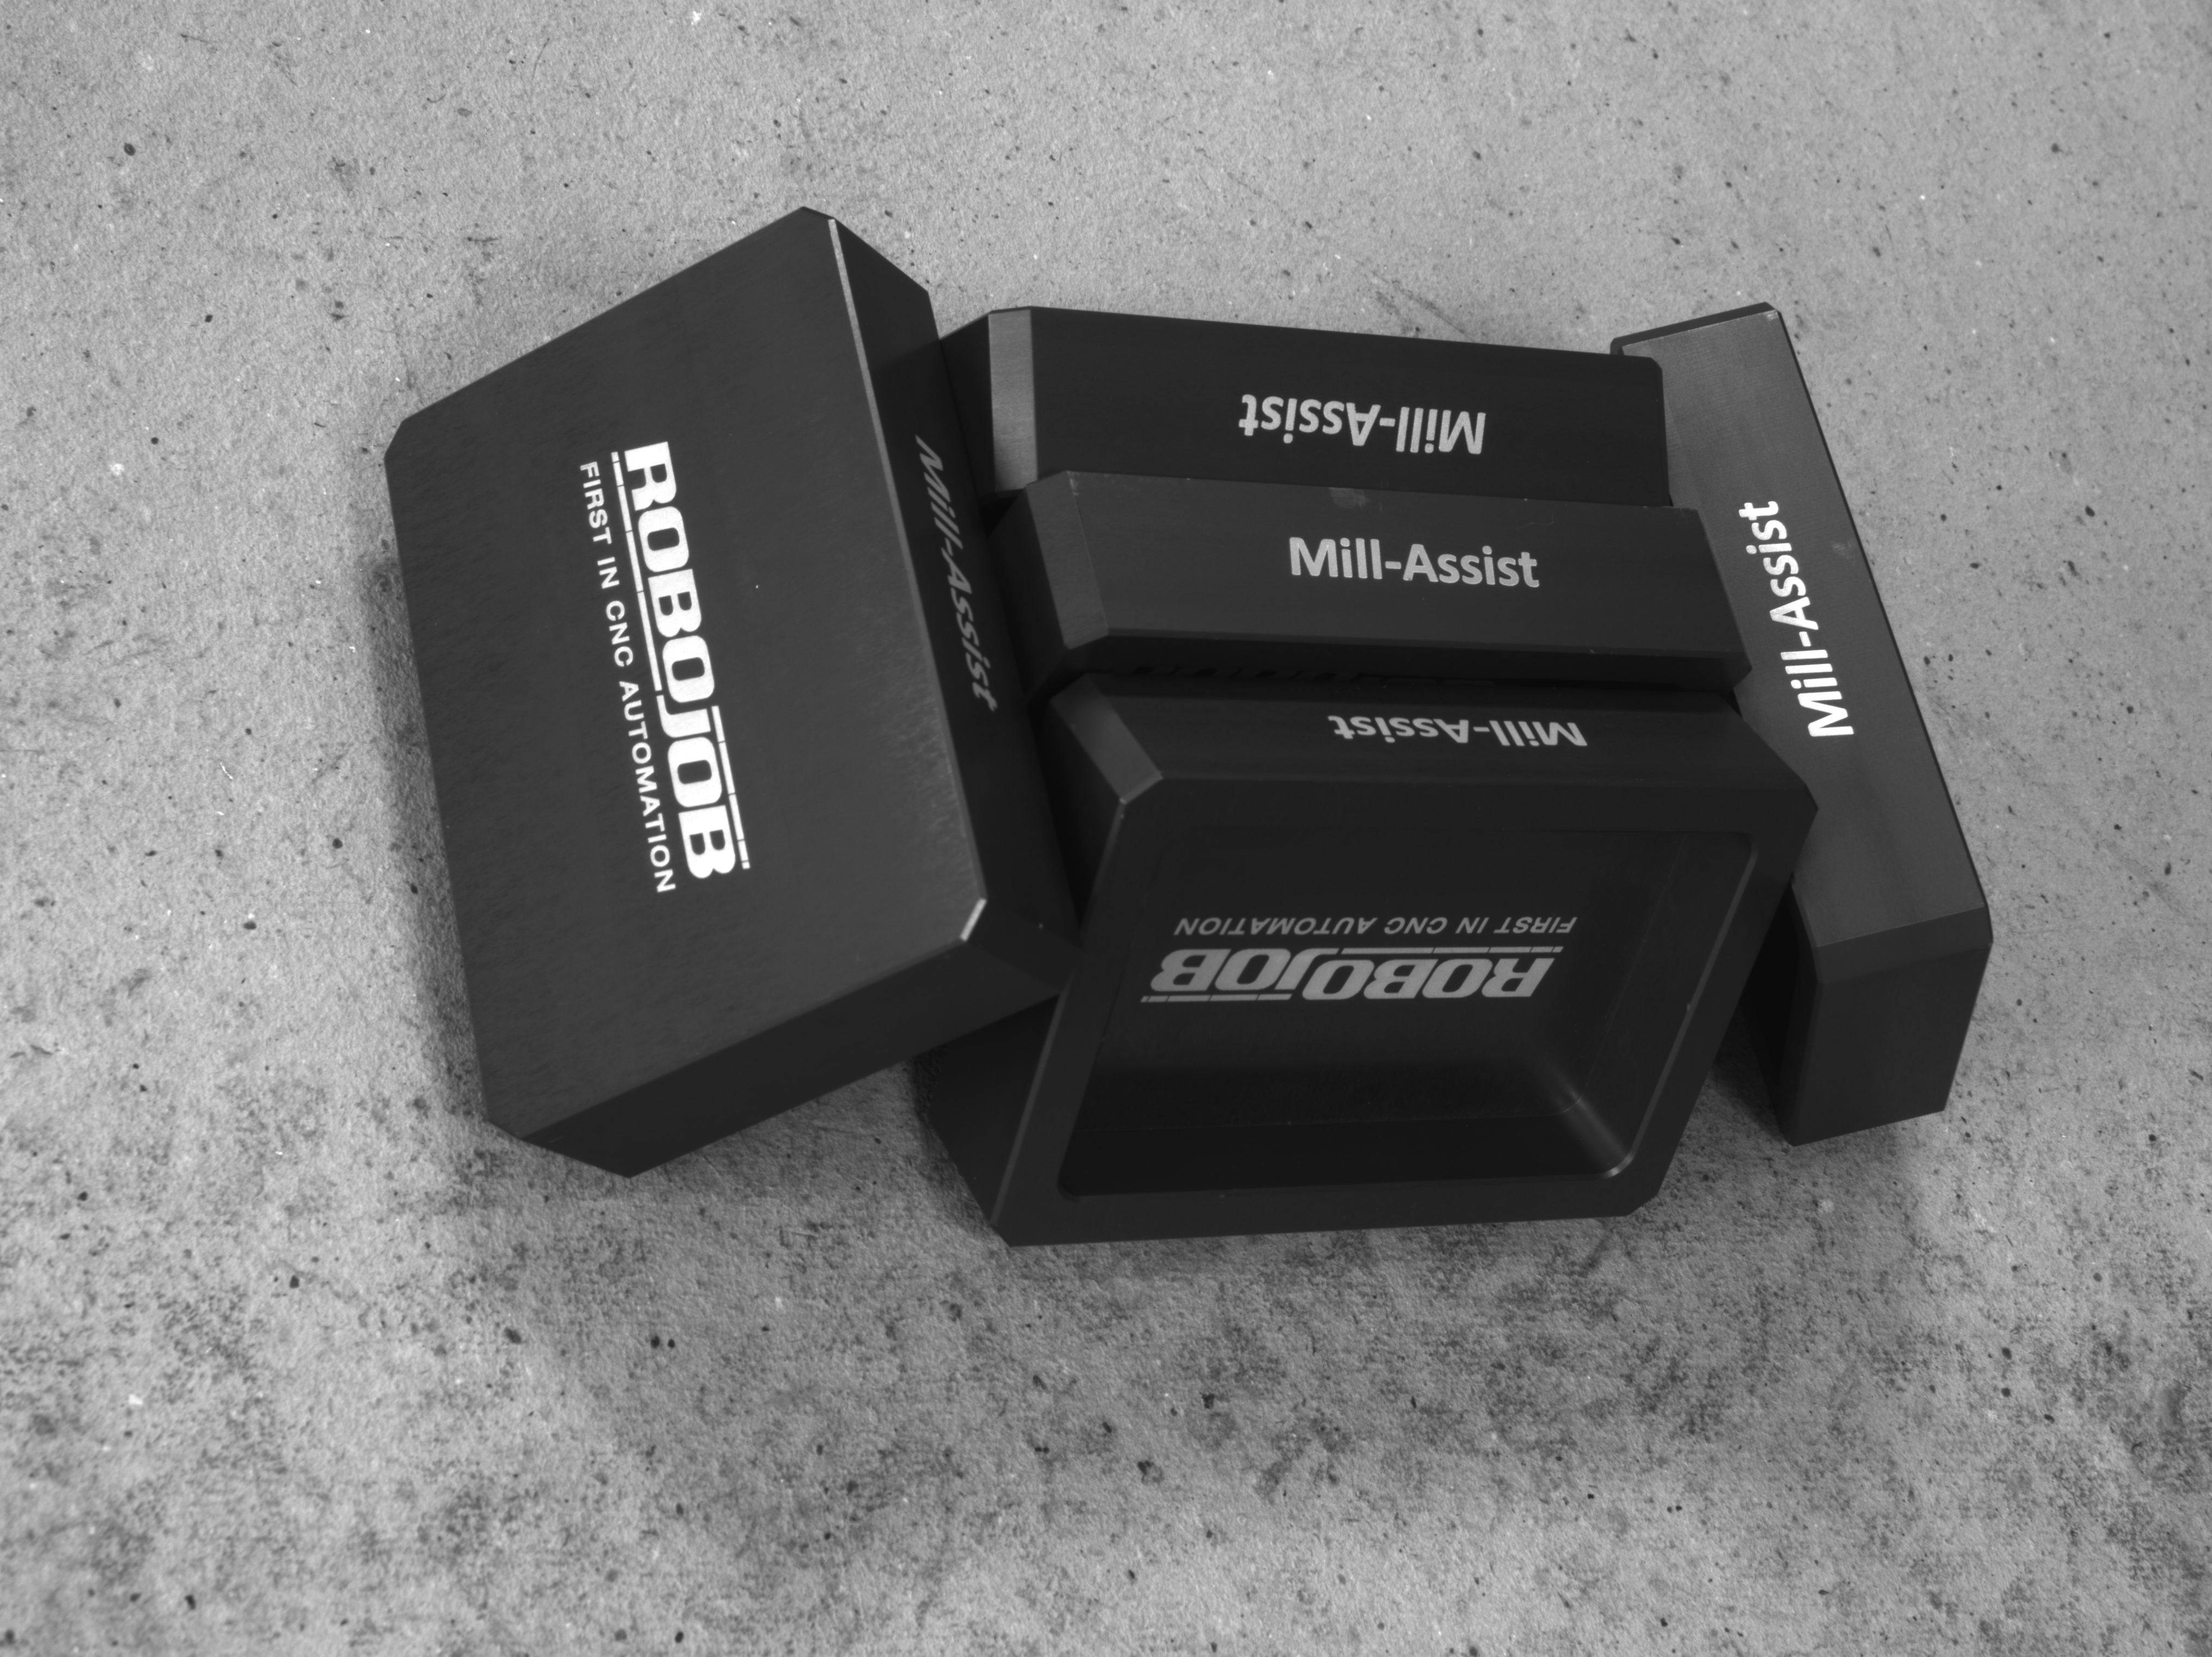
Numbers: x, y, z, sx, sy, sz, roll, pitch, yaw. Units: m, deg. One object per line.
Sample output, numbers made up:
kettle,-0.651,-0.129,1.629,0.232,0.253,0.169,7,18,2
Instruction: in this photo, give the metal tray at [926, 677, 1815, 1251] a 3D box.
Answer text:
metal tray,0.044,0.023,0.607,0.130,0.090,0.030,1,32,-28

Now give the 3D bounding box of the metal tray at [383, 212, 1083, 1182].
metal tray,-0.061,-0.021,0.579,0.030,0.090,0.130,32,40,-57

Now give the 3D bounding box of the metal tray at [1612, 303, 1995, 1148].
metal tray,0.124,-0.018,0.674,0.030,0.090,0.130,-14,65,1

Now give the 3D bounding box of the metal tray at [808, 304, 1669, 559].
metal tray,0.021,-0.062,0.645,0.130,0.090,0.030,0,83,-28

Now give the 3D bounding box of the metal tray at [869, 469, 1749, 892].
metal tray,0.031,-0.021,0.628,0.130,0.090,0.030,0,61,-28
